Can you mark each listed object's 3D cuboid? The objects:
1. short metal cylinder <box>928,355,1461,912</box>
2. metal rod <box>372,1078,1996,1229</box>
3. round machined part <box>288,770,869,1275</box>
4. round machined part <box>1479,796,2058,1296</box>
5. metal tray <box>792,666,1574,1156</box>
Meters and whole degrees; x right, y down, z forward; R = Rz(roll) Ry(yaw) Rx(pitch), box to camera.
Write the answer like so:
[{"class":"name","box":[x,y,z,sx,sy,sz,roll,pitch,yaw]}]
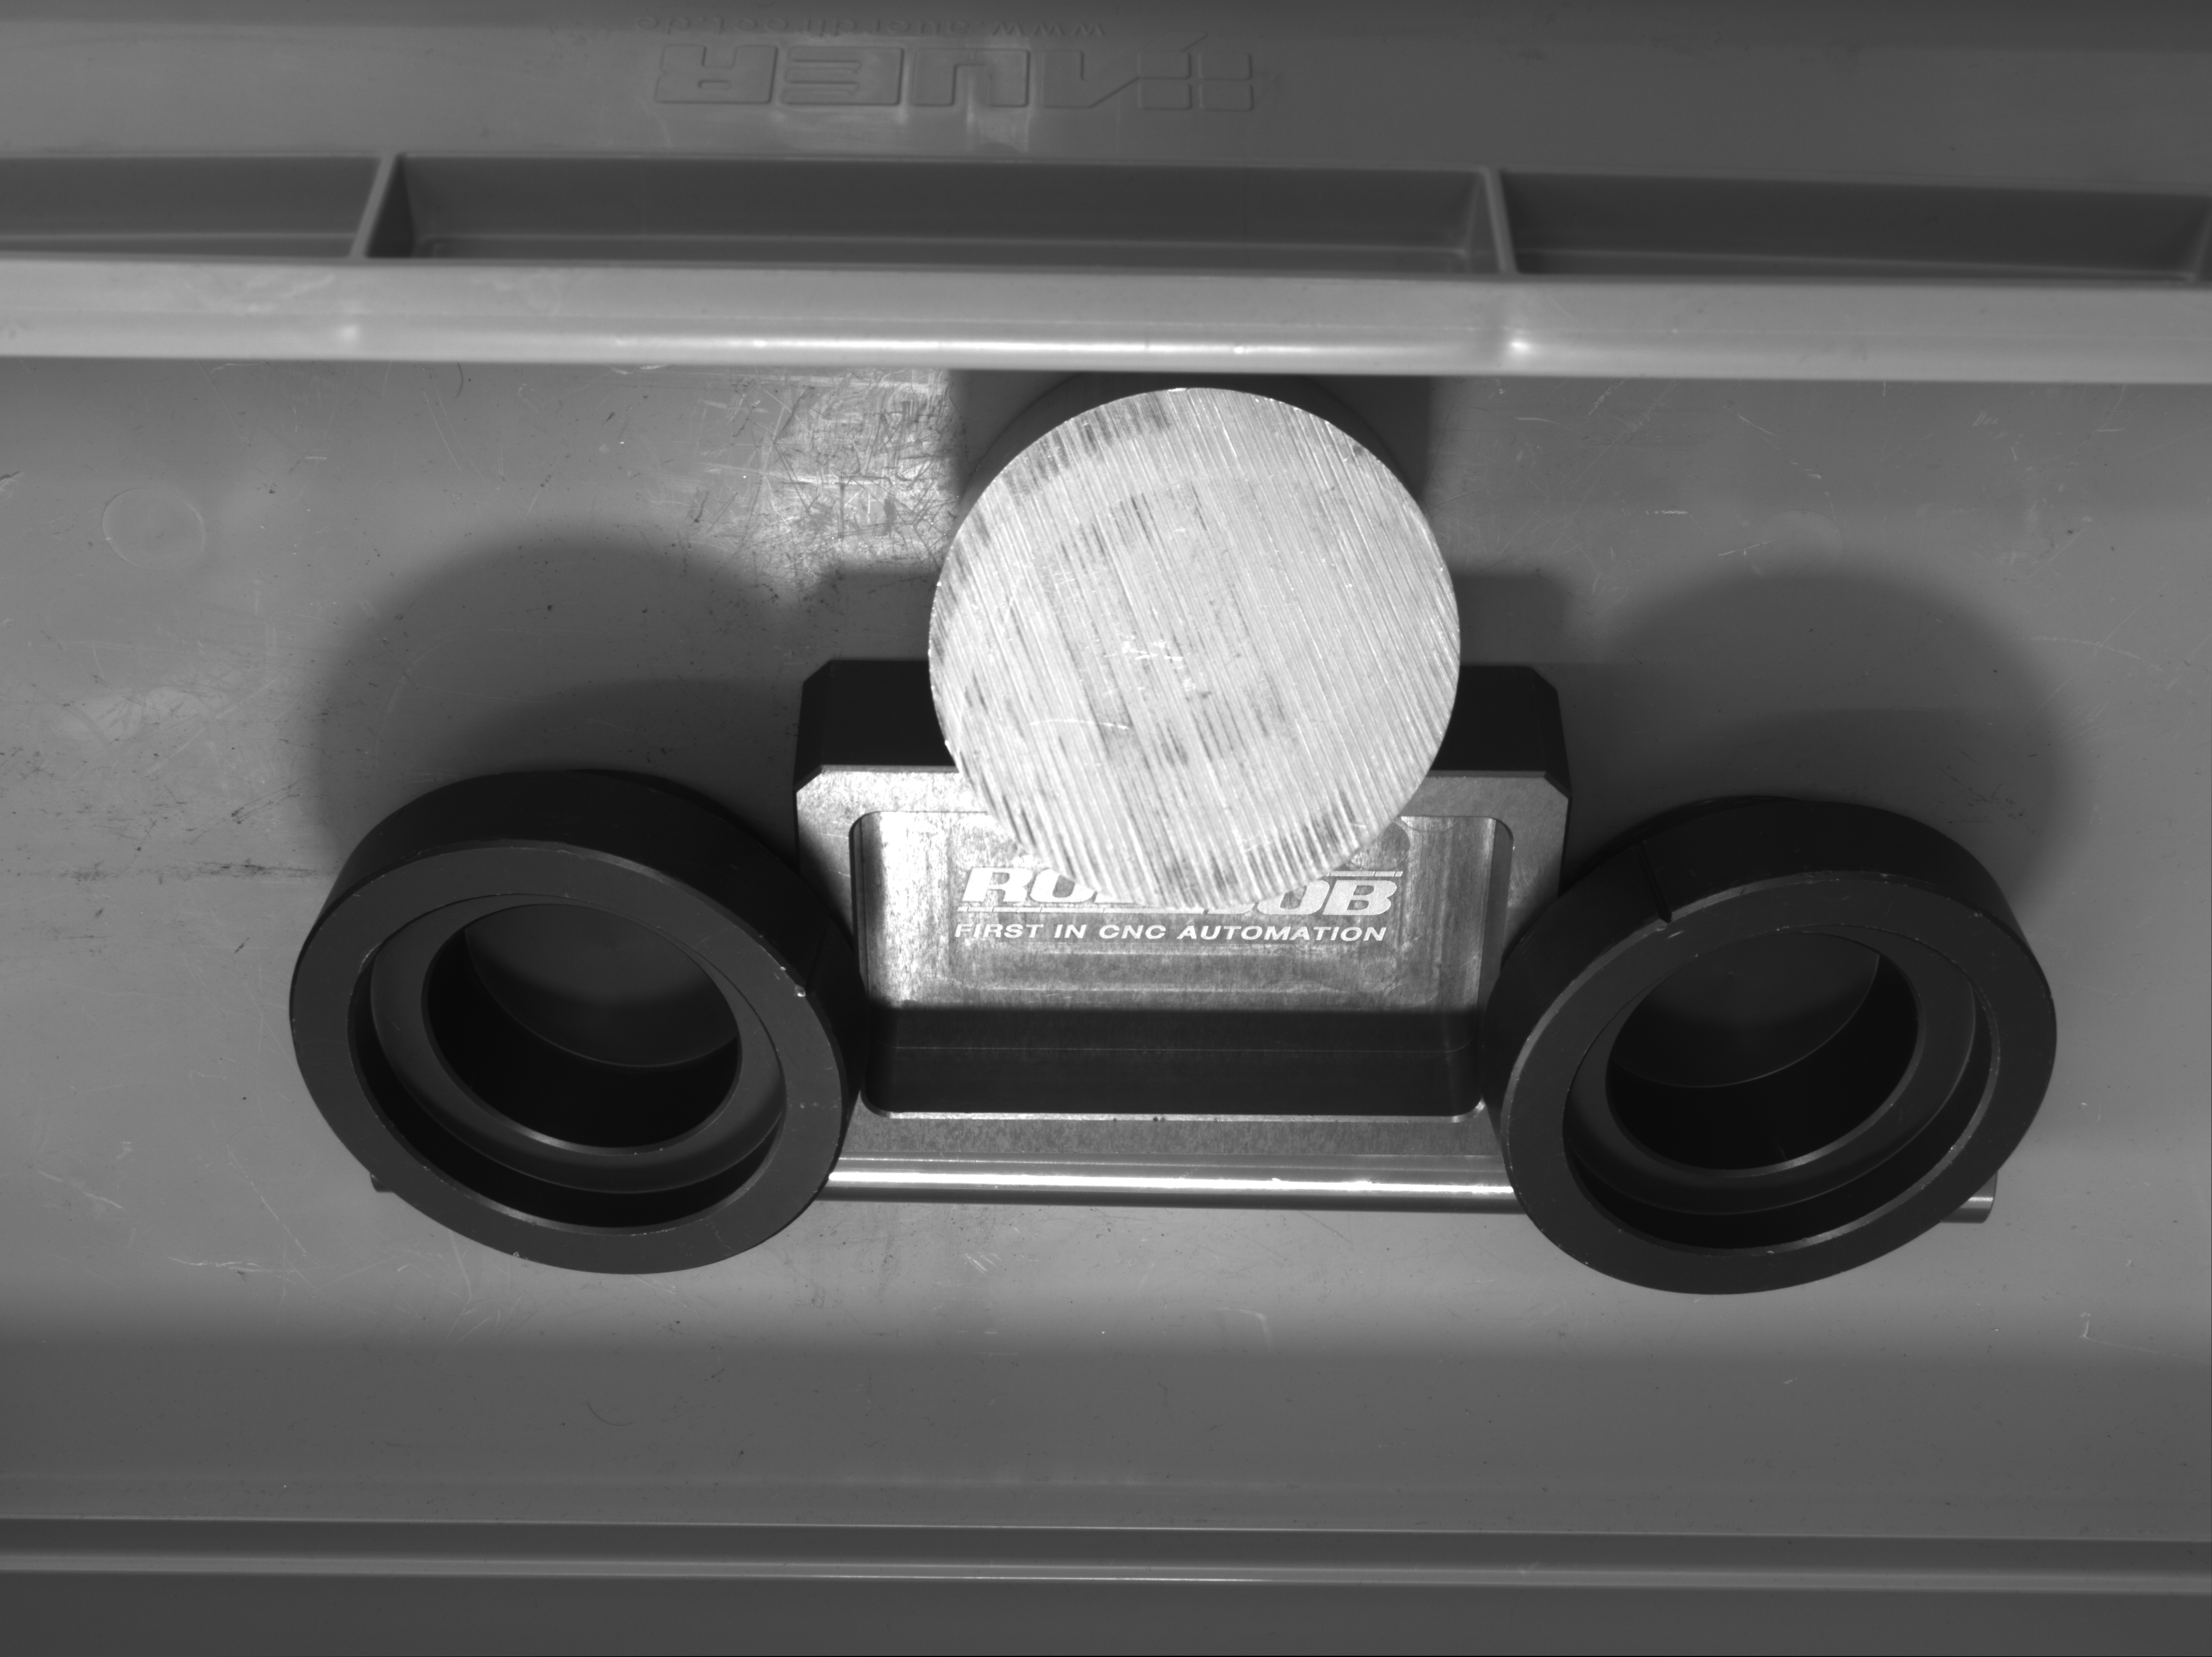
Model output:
[{"class":"short metal cylinder","box":[0.013,-0.032,0.576,0.080,0.050,0.080,0,104,0]},{"class":"metal rod","box":[0.015,0.059,0.687,0.300,0.025,0.025,1,130,-1]},{"class":"round machined part","box":[-0.089,0.029,0.644,0.098,0.042,0.098,5,128,7]},{"class":"round machined part","box":[0.114,0.033,0.648,0.098,0.042,0.098,-5,128,-6]},{"class":"metal tray","box":[0.012,0.016,0.647,0.130,0.030,0.090,0,131,-1]}]
